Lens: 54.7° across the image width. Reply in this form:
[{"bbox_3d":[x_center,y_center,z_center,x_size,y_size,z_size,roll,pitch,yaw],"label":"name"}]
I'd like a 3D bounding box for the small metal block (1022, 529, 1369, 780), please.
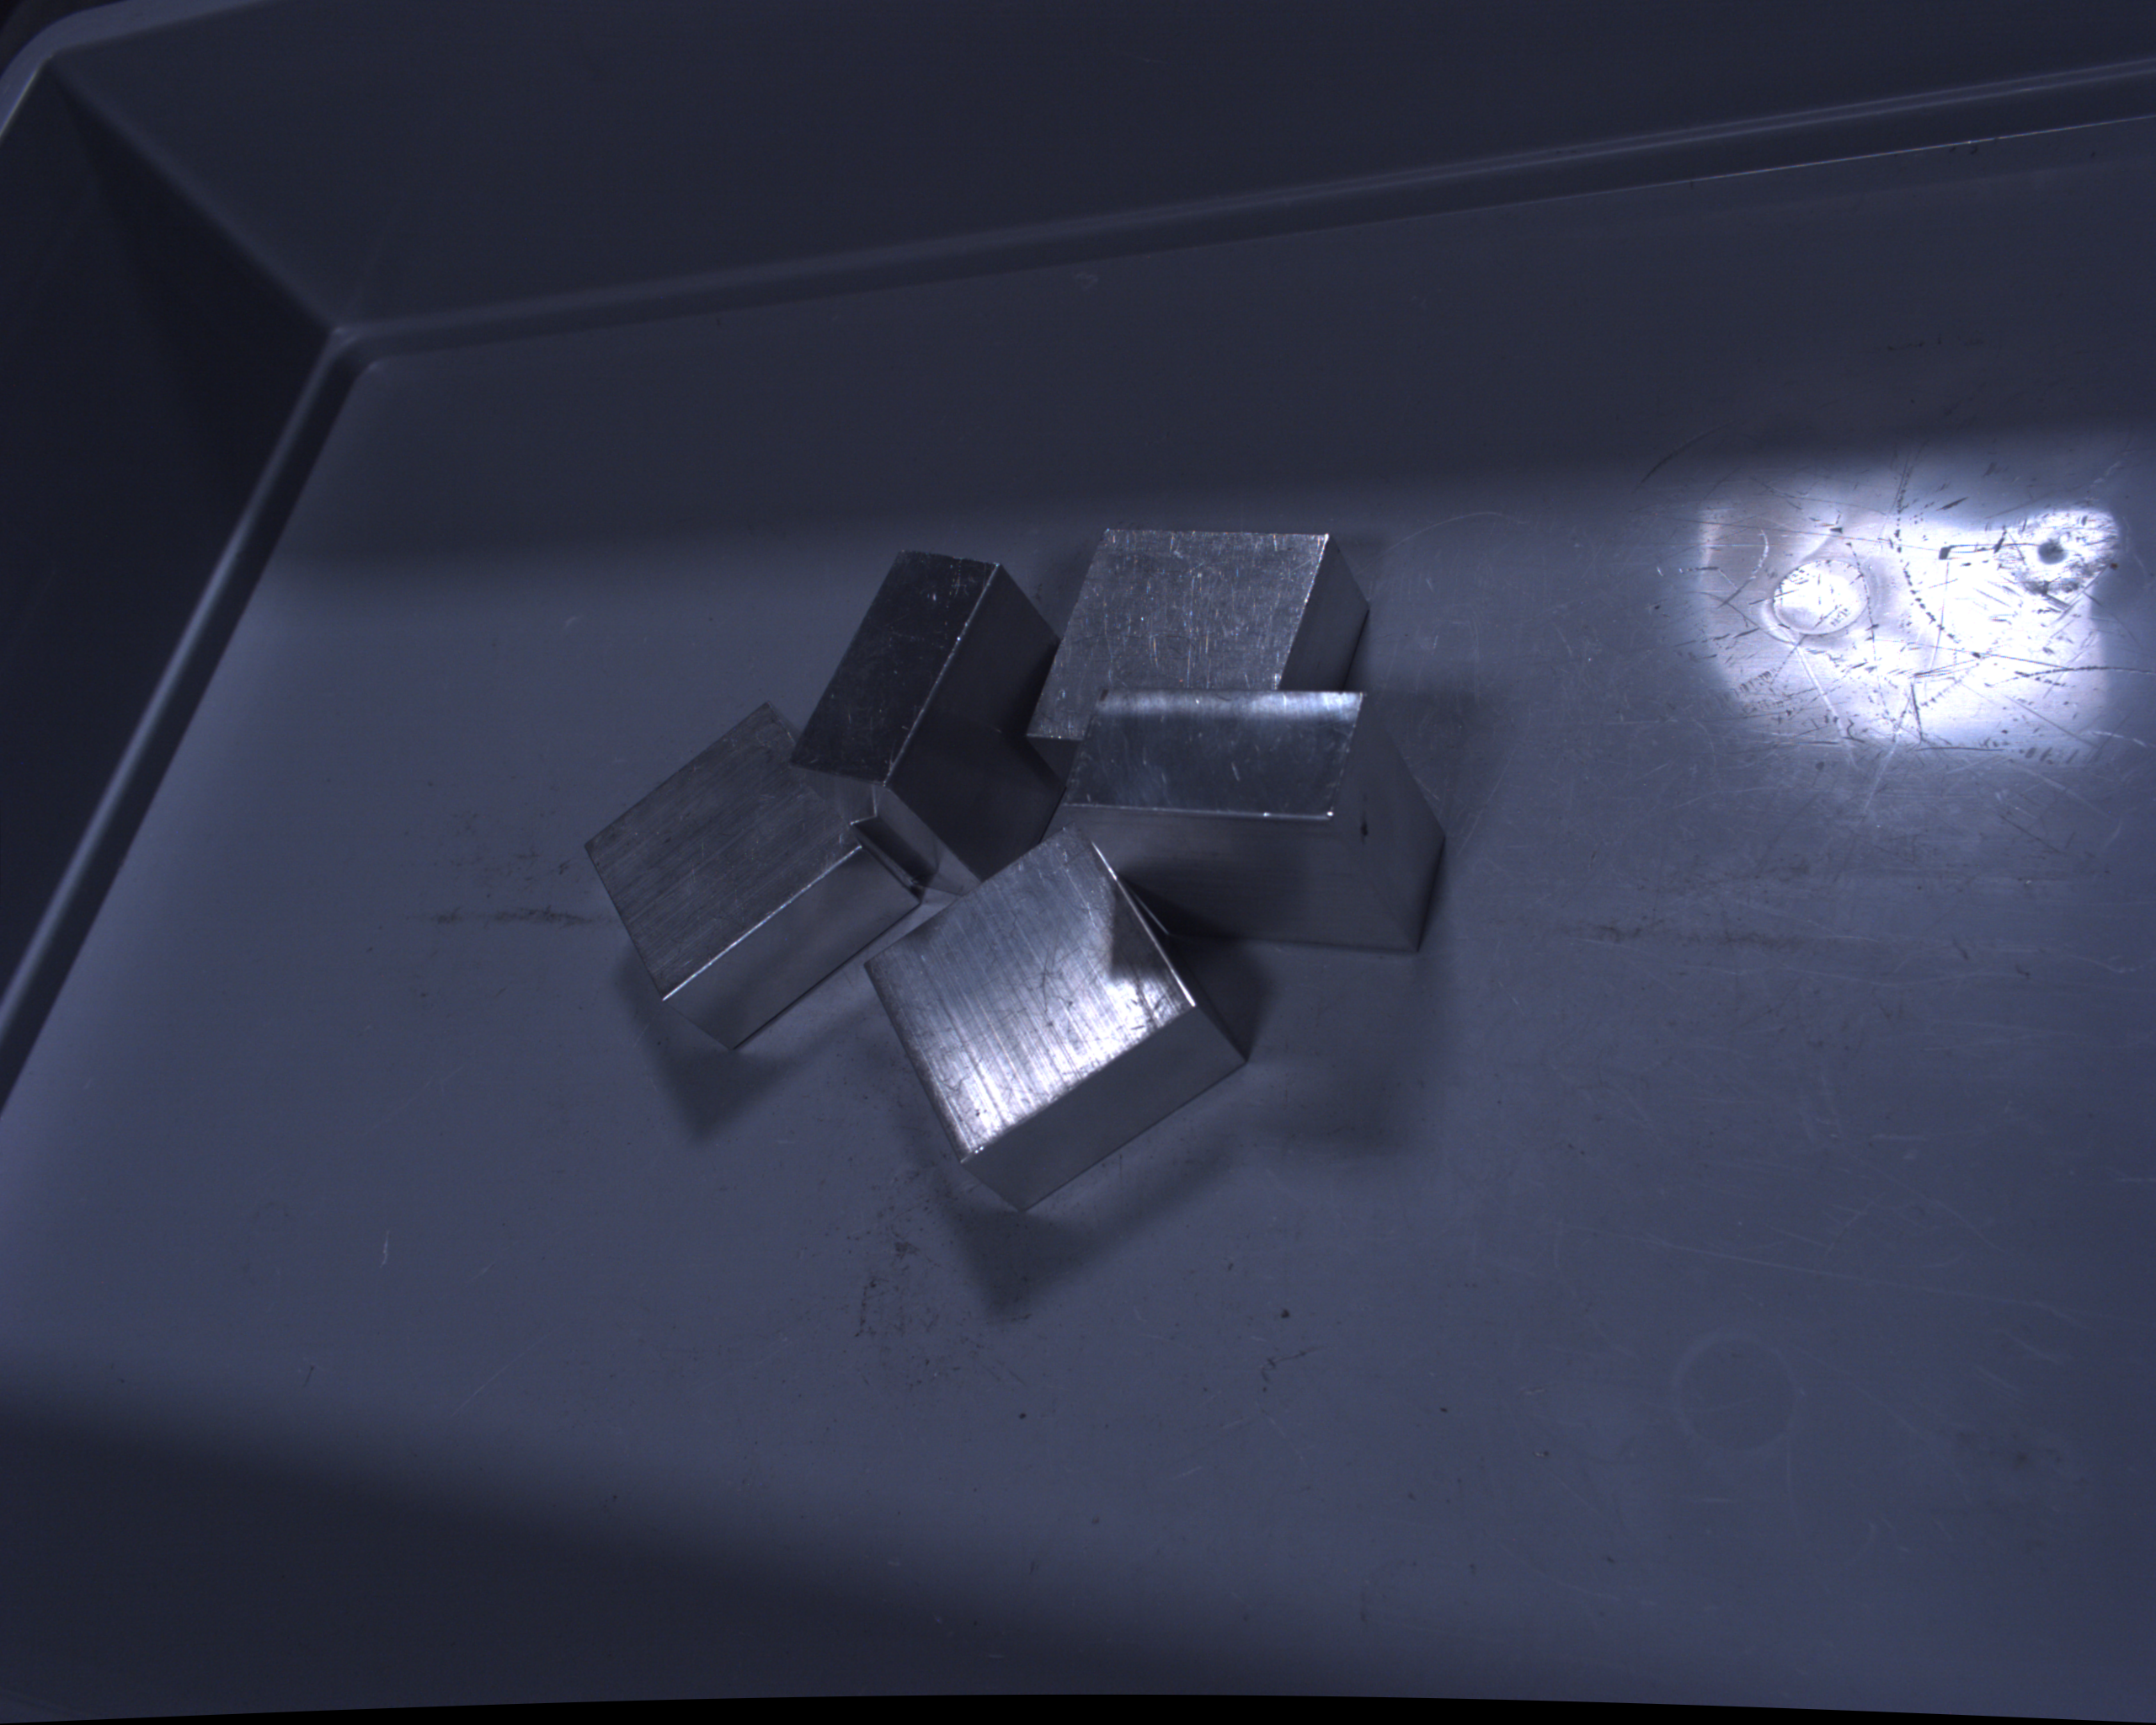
[{"bbox_3d":[0.024,-0.038,0.413,0.050,0.025,0.050,7,65,30],"label":"small metal block"}]

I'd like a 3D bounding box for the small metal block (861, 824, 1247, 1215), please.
[{"bbox_3d":[-0.005,0.028,0.387,0.050,0.025,0.050,-35,52,4],"label":"small metal block"}]

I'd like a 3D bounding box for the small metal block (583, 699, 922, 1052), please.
[{"bbox_3d":[-0.069,0.002,0.436,0.050,0.025,0.050,-38,51,2],"label":"small metal block"}]

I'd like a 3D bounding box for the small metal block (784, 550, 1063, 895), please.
[{"bbox_3d":[-0.025,-0.026,0.414,0.025,0.050,0.050,13,69,33],"label":"small metal block"}]

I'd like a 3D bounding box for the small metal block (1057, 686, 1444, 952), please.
[{"bbox_3d":[0.032,-0.008,0.374,0.050,0.050,0.025,3,64,29],"label":"small metal block"}]
